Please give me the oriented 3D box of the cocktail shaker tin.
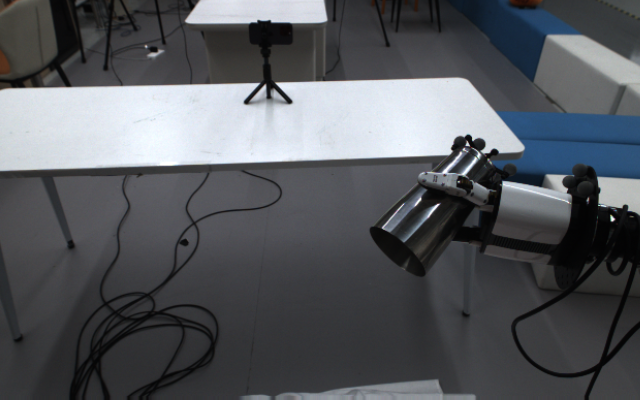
[{"bbox_3d":[0.156,0.003,0.642,0.170,0.093,0.093,-43,50,-14],"label":"cocktail shaker tin"}]
